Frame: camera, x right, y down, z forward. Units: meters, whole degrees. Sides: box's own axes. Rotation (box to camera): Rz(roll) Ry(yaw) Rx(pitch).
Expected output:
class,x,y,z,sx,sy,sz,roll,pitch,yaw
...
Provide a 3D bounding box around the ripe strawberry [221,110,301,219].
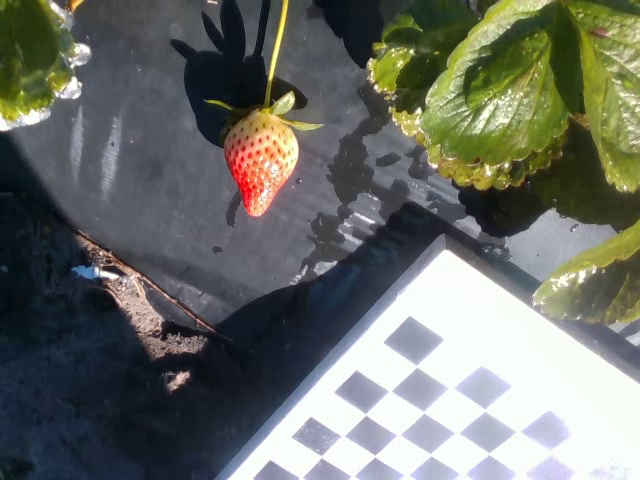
class,x,y,z,sx,sy,sz,roll,pitch,yaw
ripe strawberry,-0.026,-0.034,0.280,0.039,0.053,0.041,16,12,2
